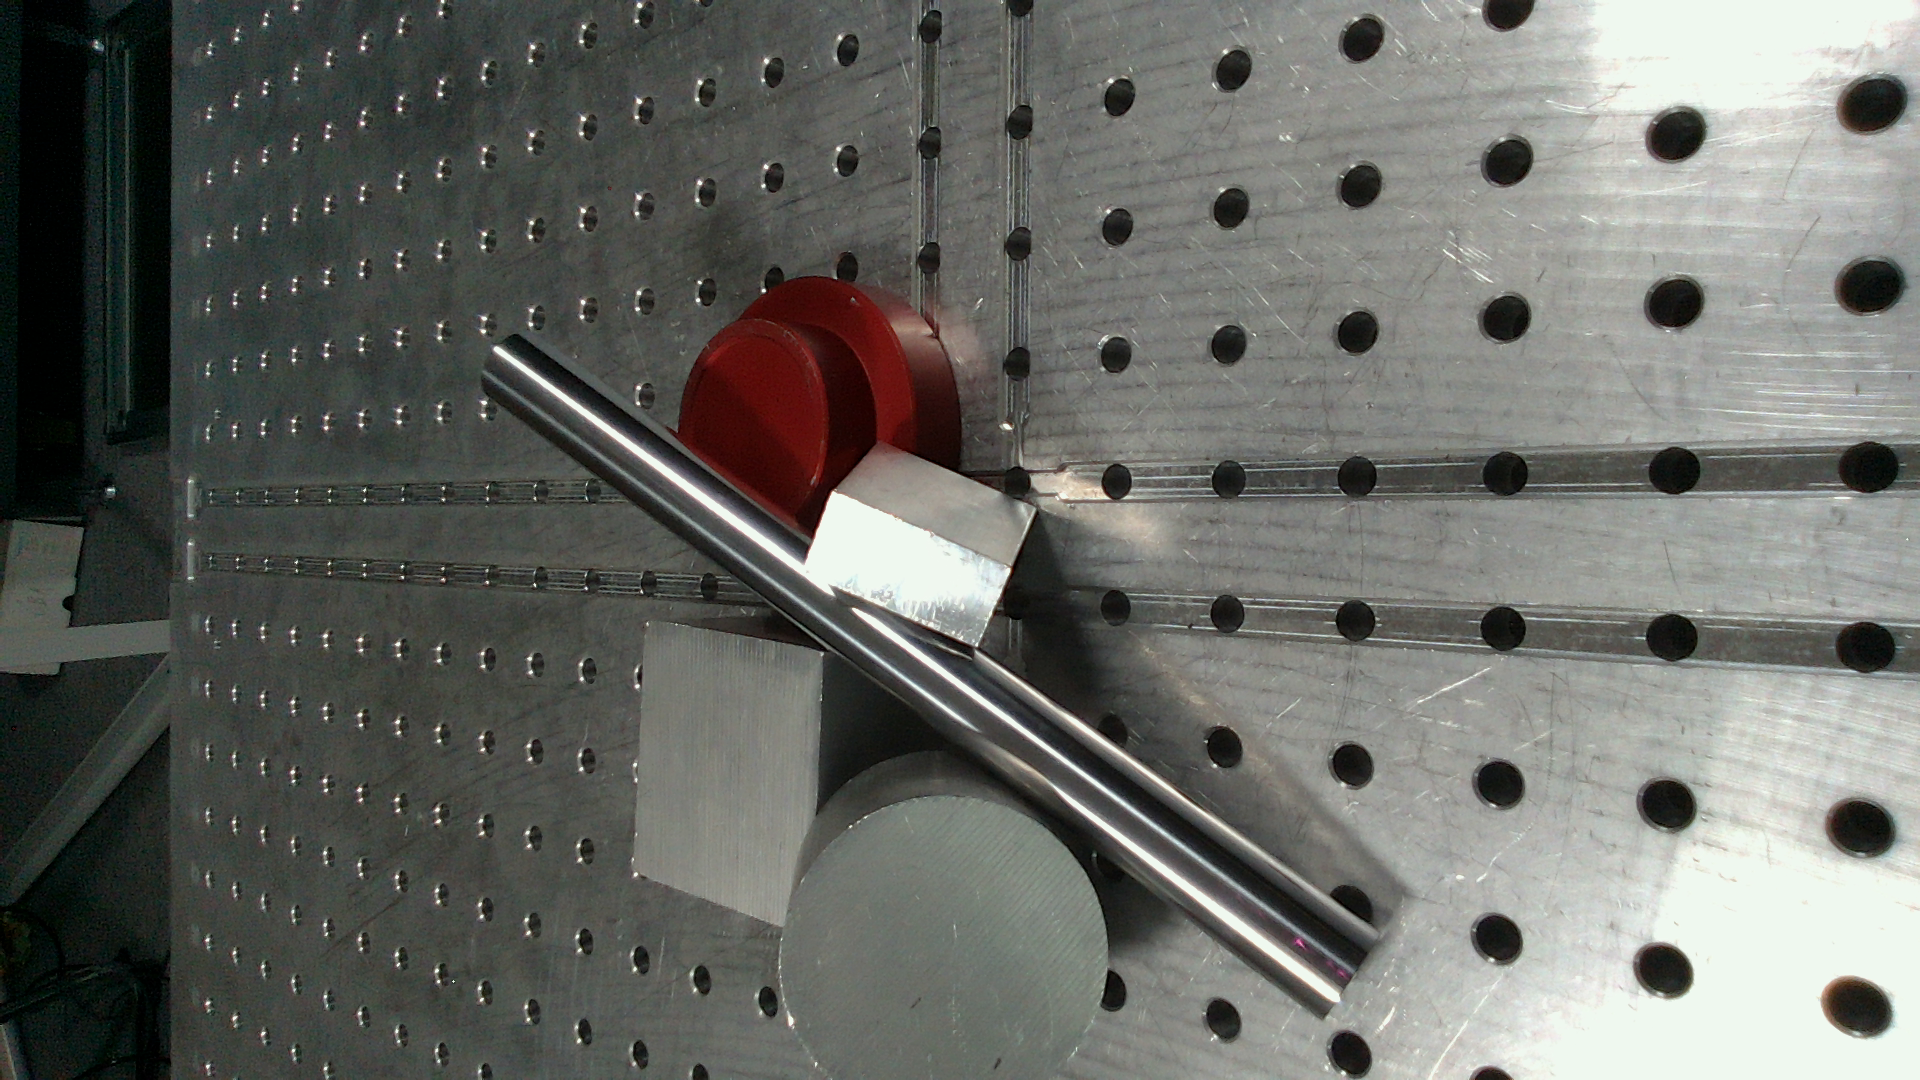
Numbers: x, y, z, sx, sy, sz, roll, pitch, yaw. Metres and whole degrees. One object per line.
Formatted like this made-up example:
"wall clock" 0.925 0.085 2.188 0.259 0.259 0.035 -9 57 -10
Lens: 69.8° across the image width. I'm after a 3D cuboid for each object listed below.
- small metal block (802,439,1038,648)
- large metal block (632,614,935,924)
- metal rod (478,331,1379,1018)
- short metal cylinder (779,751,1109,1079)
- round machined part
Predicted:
"small metal block" -0.009 -0.001 0.377 0.050 0.050 0.025 23 111 2
"large metal block" -0.054 0.067 0.424 0.080 0.050 0.080 6 94 40
"metal rod" -0.025 0.024 0.376 0.299 0.025 0.025 34 112 21
"short metal cylinder" -0.005 0.100 0.358 0.080 0.050 0.080 0 93 -5
"round machined part" -0.051 -0.034 0.429 0.098 0.042 0.098 0 90 40
